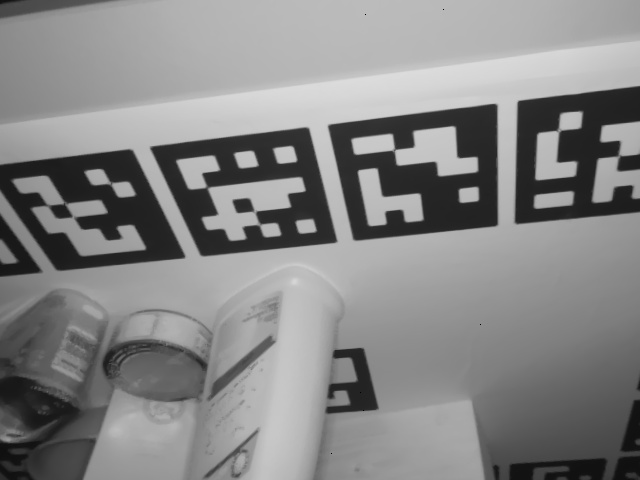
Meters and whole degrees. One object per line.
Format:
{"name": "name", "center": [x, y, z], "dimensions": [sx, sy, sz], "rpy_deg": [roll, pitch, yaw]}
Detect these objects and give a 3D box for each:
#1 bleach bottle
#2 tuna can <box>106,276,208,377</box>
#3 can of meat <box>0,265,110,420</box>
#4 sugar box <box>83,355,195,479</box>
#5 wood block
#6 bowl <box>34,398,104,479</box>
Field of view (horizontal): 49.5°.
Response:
{"name": "bleach bottle", "center": [-0.040, 0.106, 0.446], "dimensions": [0.101, 0.253, 0.068], "rpy_deg": [-33, 124, 28]}
{"name": "tuna can", "center": [-0.124, 0.070, 0.559], "dimensions": [0.086, 0.034, 0.085], "rpy_deg": [1, 129, 2]}
{"name": "can of meat", "center": [-0.214, 0.080, 0.546], "dimensions": [0.058, 0.084, 0.100], "rpy_deg": [34, 127, -29]}
{"name": "sugar box", "center": [-0.131, 0.166, 0.550], "dimensions": [0.093, 0.178, 0.045], "rpy_deg": [4, 130, -5]}
{"name": "wood block", "center": [0.079, 0.192, 0.633], "dimensions": [0.204, 0.091, 0.091], "rpy_deg": [-18, 125, 18]}
{"name": "bowl", "center": [-0.181, 0.196, 0.664], "dimensions": [0.162, 0.055, 0.160], "rpy_deg": [-2, 132, -1]}
